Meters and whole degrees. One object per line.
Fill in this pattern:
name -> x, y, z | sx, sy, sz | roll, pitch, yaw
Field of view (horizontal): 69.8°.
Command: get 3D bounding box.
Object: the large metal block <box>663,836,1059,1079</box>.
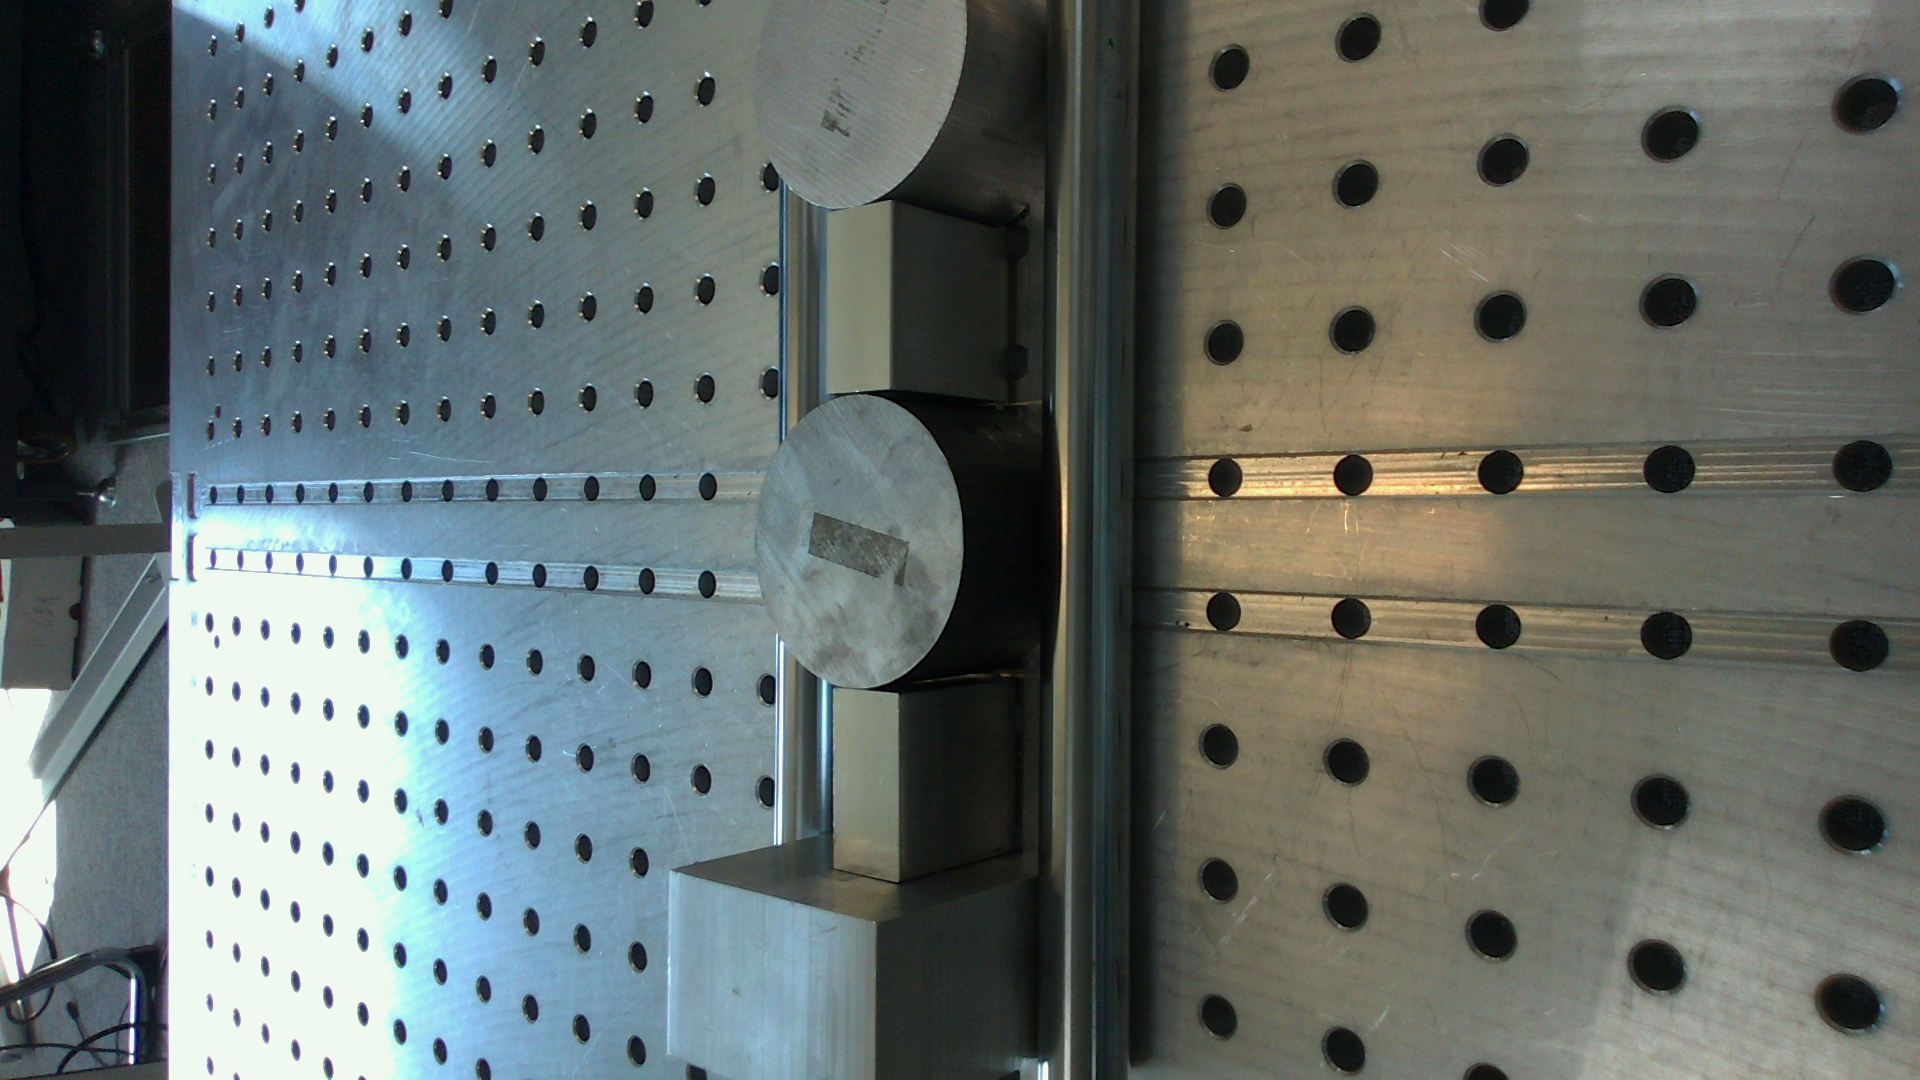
large metal block -> -0.025, 0.115, 0.383 | 0.080, 0.080, 0.050 | 1, 91, 40

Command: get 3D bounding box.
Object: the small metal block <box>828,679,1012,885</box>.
small metal block -> -0.010, 0.066, 0.389 | 0.025, 0.050, 0.050 | 0, 90, 40

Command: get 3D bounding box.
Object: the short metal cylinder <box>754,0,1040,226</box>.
short metal cylinder -> -0.013, -0.130, 0.392 | 0.080, 0.050, 0.080 | 0, 90, 40

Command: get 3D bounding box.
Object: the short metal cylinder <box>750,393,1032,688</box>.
short metal cylinder -> -0.014, 0.000, 0.393 | 0.080, 0.050, 0.080 | 0, 90, 40

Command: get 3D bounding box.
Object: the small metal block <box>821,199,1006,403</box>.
small metal block -> -0.012, -0.065, 0.390 | 0.025, 0.050, 0.050 | 1, 91, 40

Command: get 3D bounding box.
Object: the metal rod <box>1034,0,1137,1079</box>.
metal rod -> 0.034, -0.006, 0.368 | 0.025, 0.025, 0.300 | 1, 91, 40

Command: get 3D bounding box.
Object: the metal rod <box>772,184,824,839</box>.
metal rod -> -0.046, -0.006, 0.436 | 0.025, 0.025, 0.300 | 1, 91, 40
